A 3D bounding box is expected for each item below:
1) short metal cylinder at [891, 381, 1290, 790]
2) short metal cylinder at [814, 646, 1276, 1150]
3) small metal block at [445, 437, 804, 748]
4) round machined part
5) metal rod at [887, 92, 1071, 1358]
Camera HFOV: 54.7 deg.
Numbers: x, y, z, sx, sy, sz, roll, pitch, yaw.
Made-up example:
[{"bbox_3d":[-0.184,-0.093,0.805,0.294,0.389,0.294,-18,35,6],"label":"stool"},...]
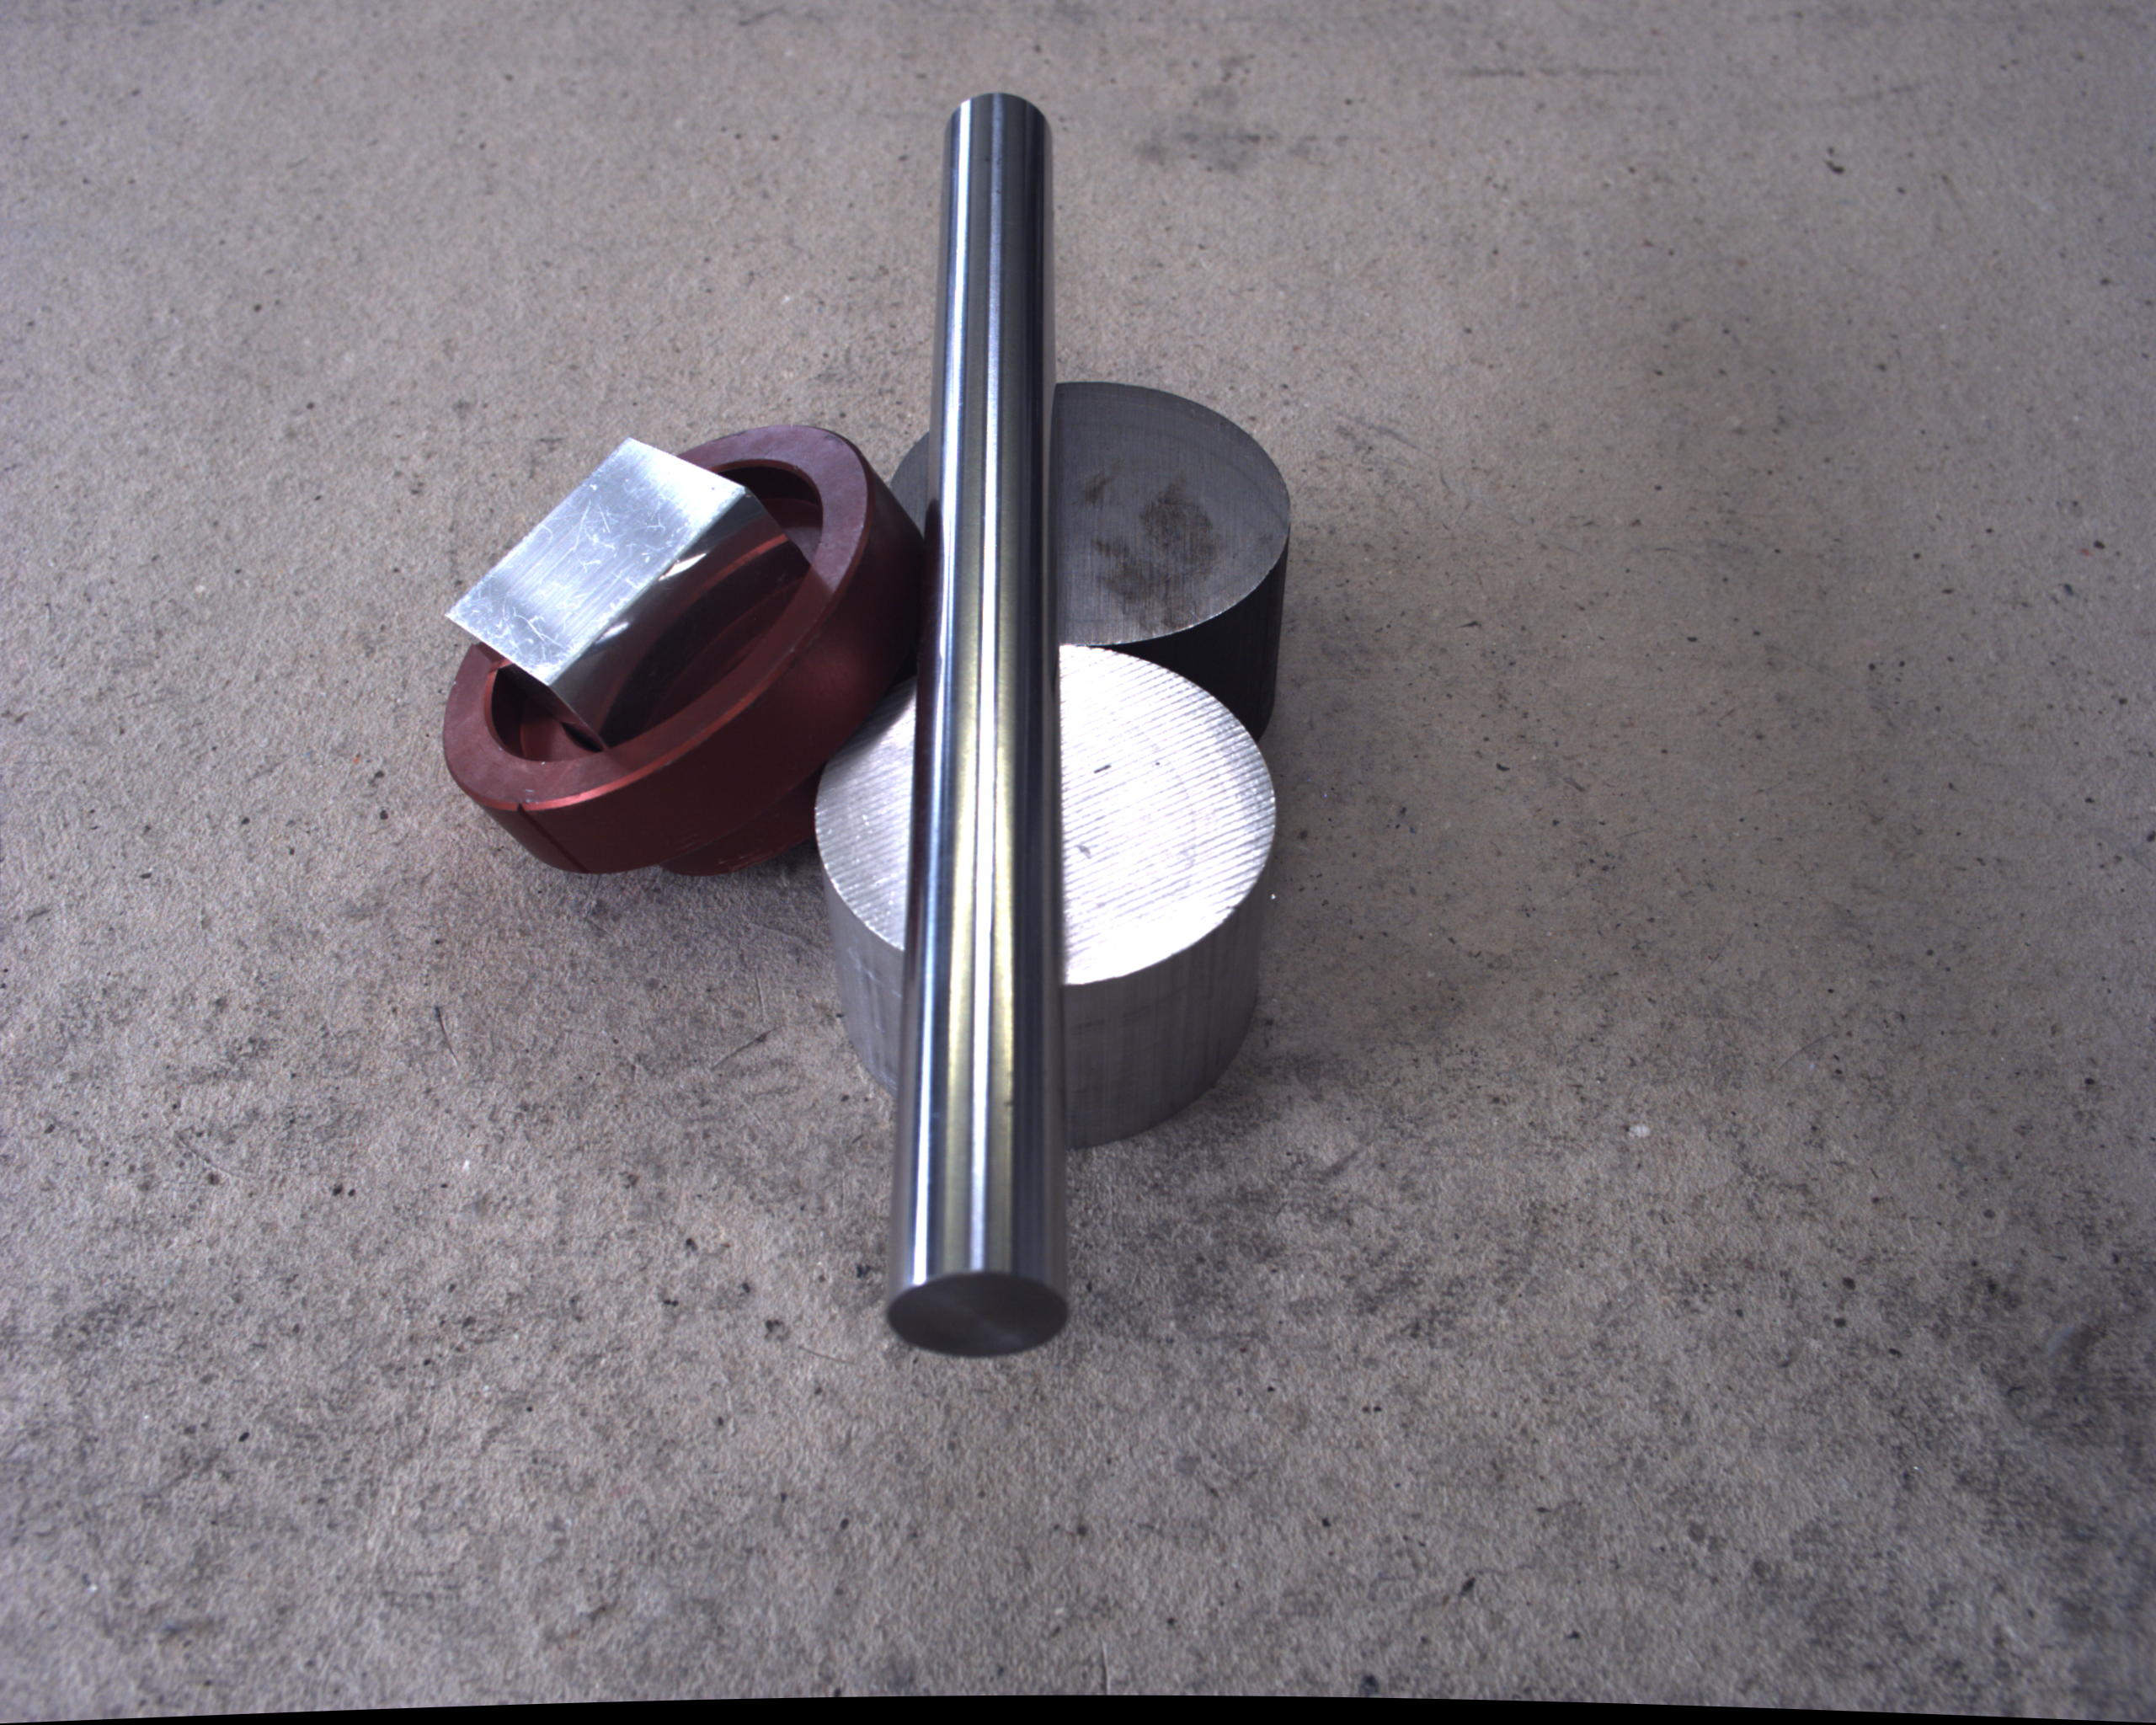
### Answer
[{"bbox_3d":[0.002,-0.056,0.435,0.081,0.050,0.080,0,50,0],"label":"short metal cylinder"},{"bbox_3d":[-0.006,0.006,0.383,0.081,0.050,0.080,0,49,0],"label":"short metal cylinder"},{"bbox_3d":[-0.084,-0.049,0.393,0.050,0.025,0.050,-48,41,-11],"label":"small metal block"},{"bbox_3d":[-0.071,-0.036,0.407,0.098,0.042,0.098,-20,44,21],"label":"round machined part"},{"bbox_3d":[-0.016,-0.052,0.384,0.025,0.025,0.300,-1,50,-1],"label":"metal rod"}]
